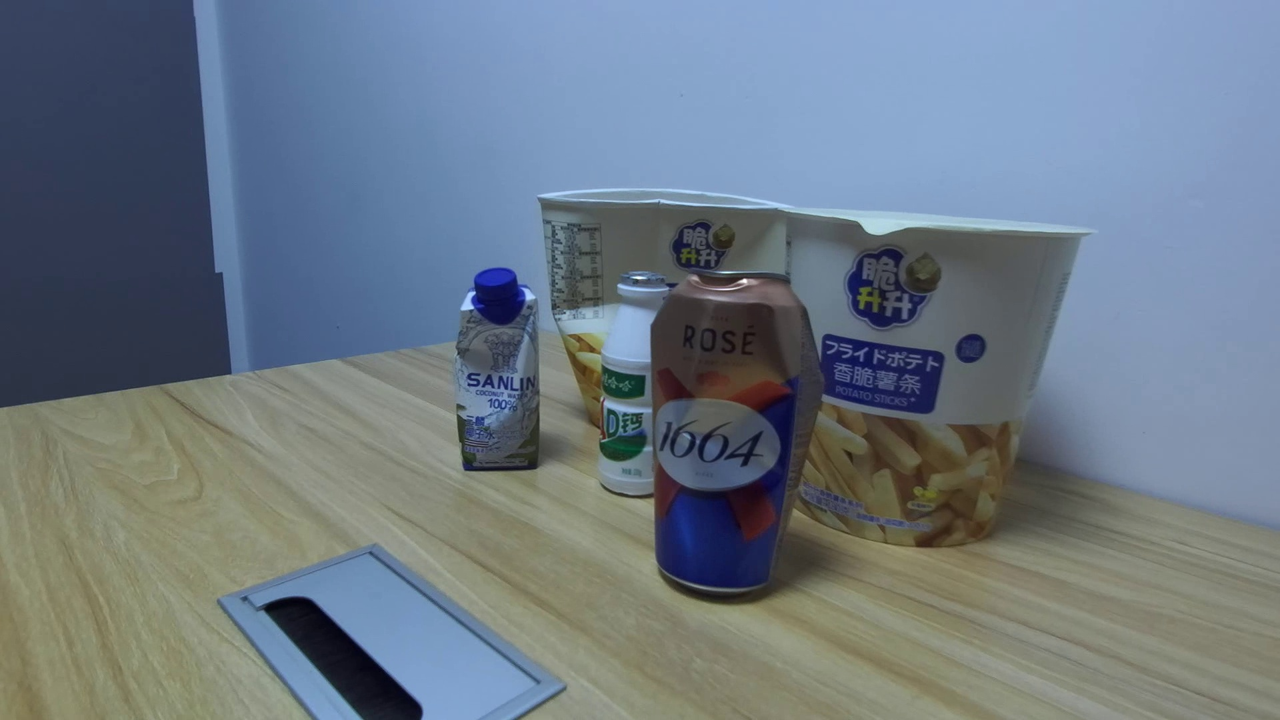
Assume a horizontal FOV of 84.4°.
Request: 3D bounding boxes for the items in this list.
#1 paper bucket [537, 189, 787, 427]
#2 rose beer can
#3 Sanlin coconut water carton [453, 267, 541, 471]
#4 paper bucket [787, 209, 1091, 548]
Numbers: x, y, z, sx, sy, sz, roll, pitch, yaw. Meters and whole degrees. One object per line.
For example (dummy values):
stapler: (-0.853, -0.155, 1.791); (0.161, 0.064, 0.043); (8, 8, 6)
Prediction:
paper bucket: (0.035, -0.042, 0.607); (0.219, 0.199, 0.147); (-5, 17, -29)
rose beer can: (0.046, 0.037, 0.369); (0.069, 0.168, 0.069); (-2, 12, -31)
Sanlin coconut water carton: (-0.103, 0.004, 0.511); (0.061, 0.143, 0.069); (0, 15, -7)
paper bucket: (0.177, 0.004, 0.473); (0.198, 0.194, 0.198); (3, 14, -1)
